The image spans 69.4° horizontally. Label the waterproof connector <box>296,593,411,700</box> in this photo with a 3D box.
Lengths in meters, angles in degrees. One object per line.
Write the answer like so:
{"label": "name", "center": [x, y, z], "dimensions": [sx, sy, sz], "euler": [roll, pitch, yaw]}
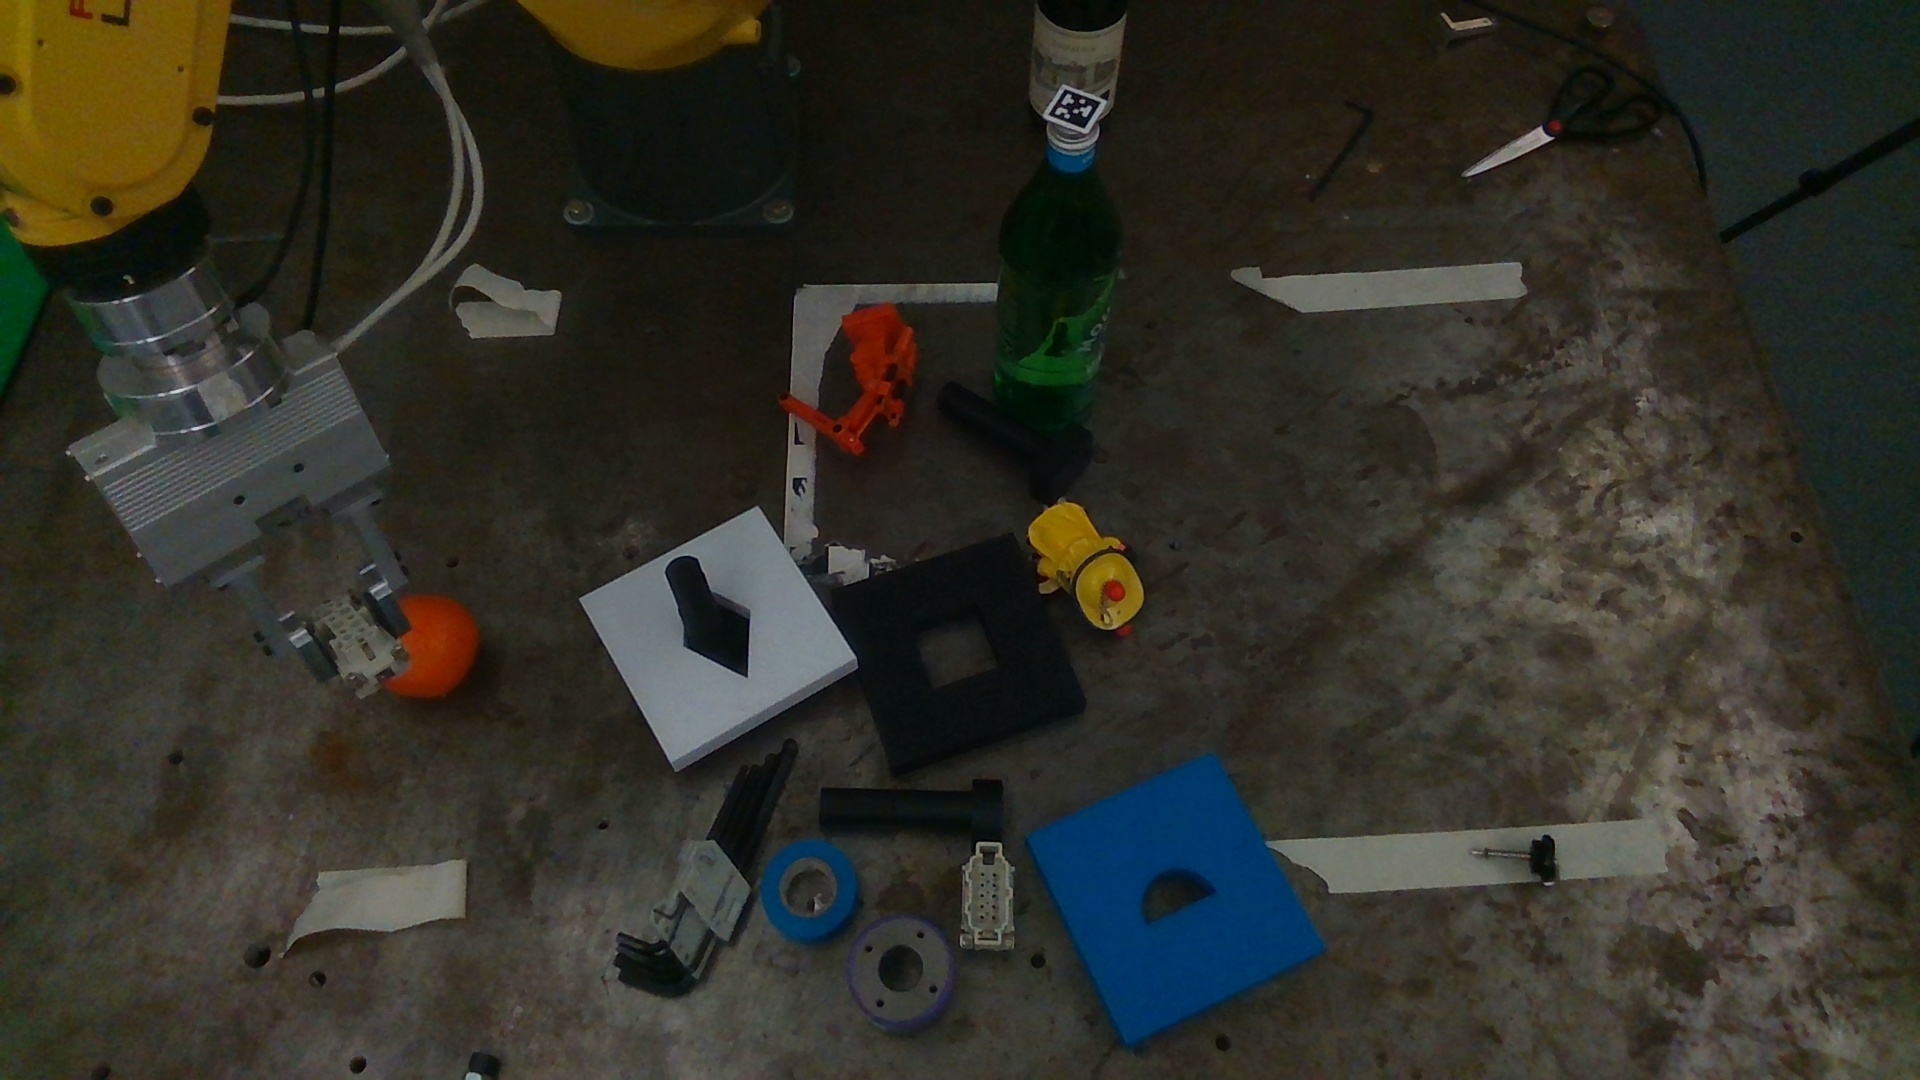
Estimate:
{"label": "waterproof connector", "center": [-0.334, 0.055, 0.760], "dimensions": [0.036, 0.038, 0.069], "euler": [-41, 49, -22]}
